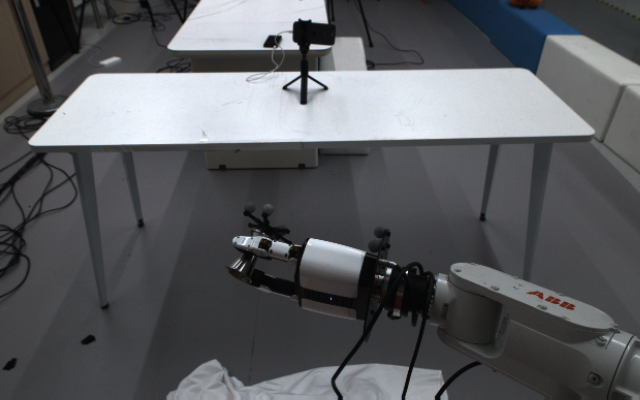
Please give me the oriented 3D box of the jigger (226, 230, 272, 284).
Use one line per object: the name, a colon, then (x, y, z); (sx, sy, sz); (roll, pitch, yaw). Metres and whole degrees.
jigger: (-0.103, 0.078, 0.705); (0.043, 0.043, 0.071); (19, 62, 23)
